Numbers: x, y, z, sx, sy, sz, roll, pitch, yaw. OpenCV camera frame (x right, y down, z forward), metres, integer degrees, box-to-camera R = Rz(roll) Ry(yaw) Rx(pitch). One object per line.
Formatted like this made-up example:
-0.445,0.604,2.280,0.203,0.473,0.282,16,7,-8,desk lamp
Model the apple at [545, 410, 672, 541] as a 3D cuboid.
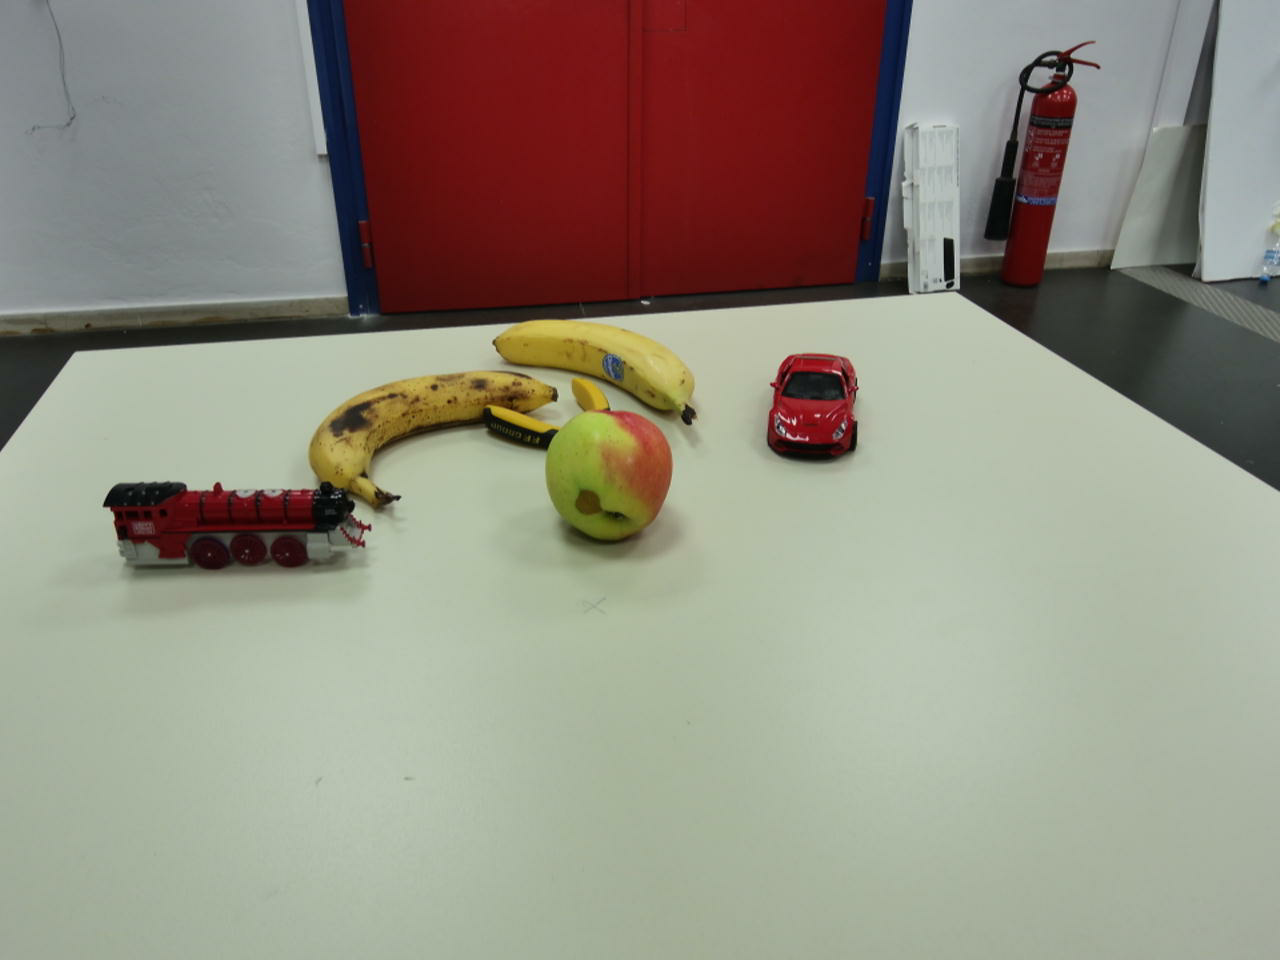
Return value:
-0.017,-0.004,0.579,0.075,0.074,0.075,-14,30,-29,apple
